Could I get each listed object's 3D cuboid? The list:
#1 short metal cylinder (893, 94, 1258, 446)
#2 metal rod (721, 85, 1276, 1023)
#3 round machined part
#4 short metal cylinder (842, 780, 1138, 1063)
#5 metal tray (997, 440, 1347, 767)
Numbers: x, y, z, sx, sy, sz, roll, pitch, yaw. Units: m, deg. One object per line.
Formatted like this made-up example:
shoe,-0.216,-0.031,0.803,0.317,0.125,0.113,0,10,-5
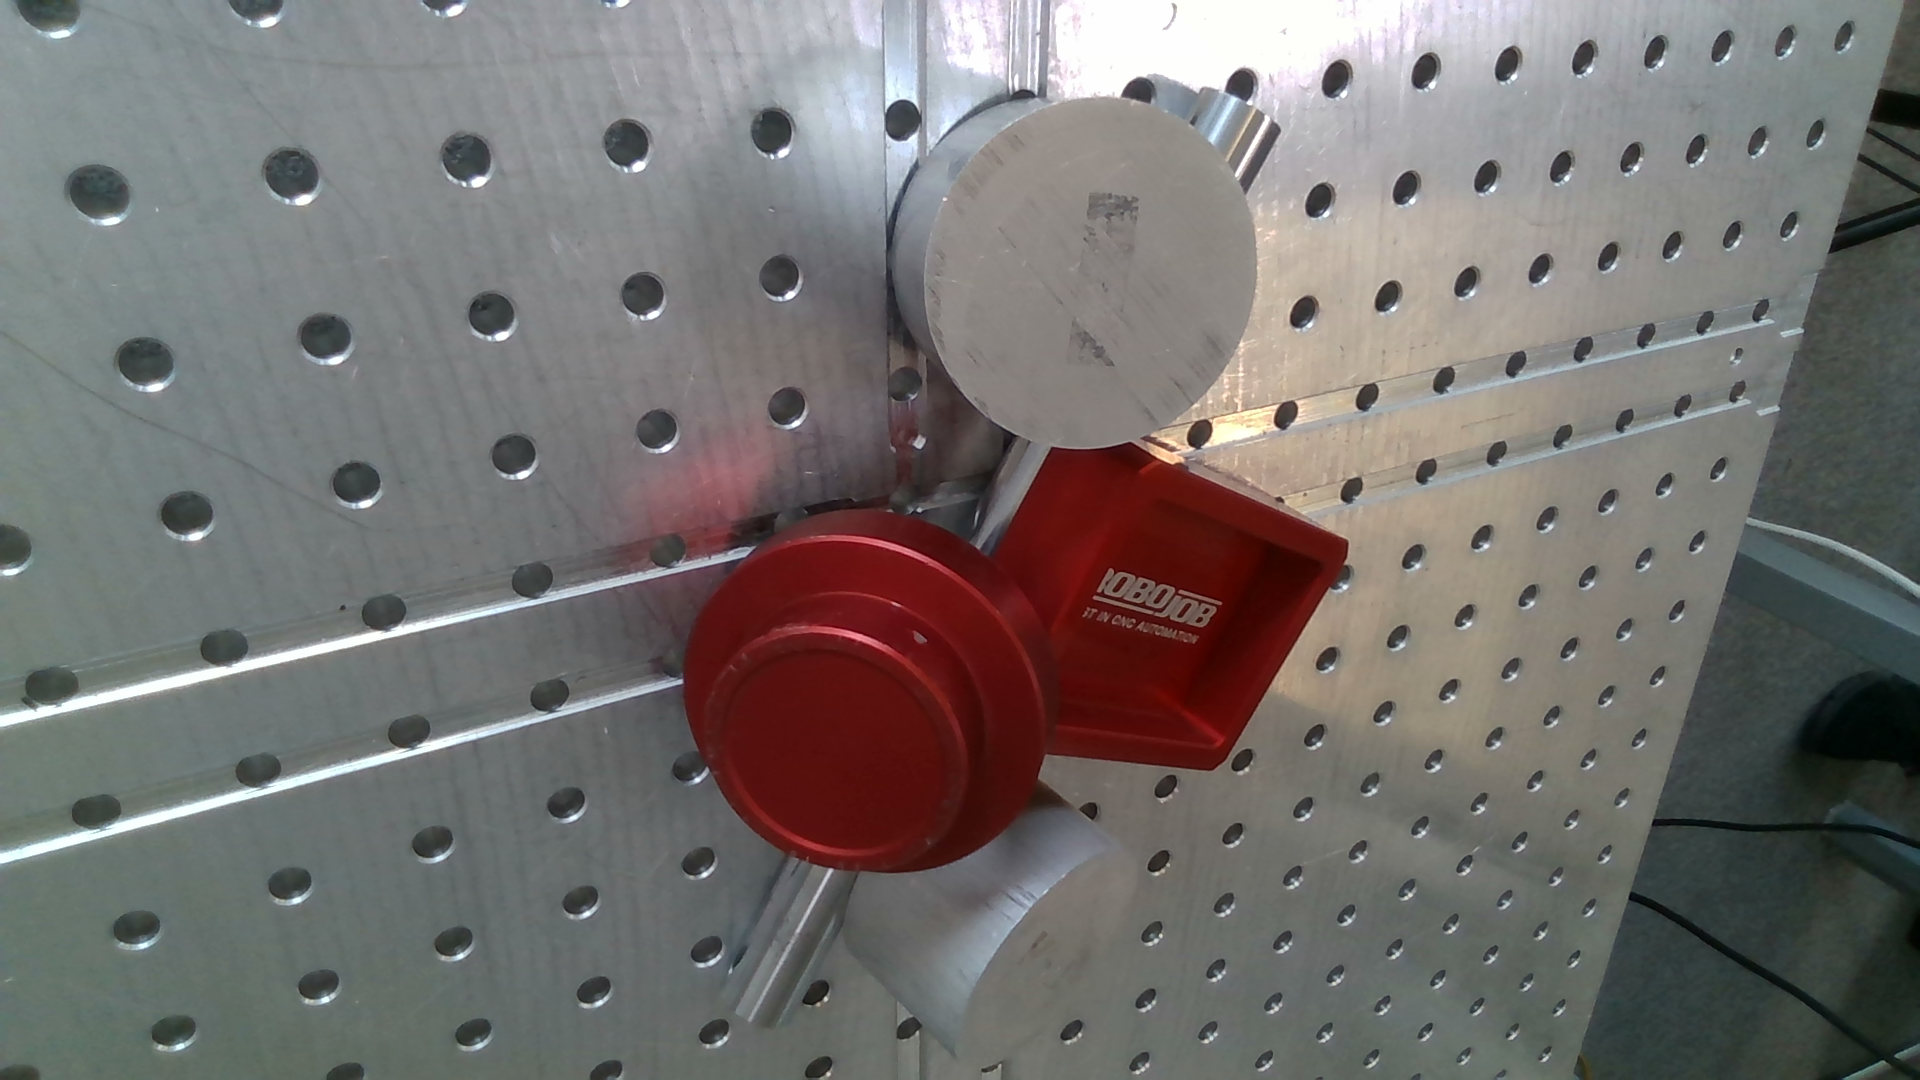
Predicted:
short metal cylinder,0.026,-0.068,0.341,0.080,0.050,0.080,-4,109,-11
metal rod,0.006,0.012,0.403,0.025,0.025,0.300,20,103,-37
round machined part,-0.027,0.044,0.354,0.098,0.042,0.098,5,113,13
short metal cylinder,0.010,0.113,0.429,0.080,0.050,0.080,-34,143,-31
metal tray,0.059,0.021,0.419,0.130,0.030,0.090,15,106,-50
